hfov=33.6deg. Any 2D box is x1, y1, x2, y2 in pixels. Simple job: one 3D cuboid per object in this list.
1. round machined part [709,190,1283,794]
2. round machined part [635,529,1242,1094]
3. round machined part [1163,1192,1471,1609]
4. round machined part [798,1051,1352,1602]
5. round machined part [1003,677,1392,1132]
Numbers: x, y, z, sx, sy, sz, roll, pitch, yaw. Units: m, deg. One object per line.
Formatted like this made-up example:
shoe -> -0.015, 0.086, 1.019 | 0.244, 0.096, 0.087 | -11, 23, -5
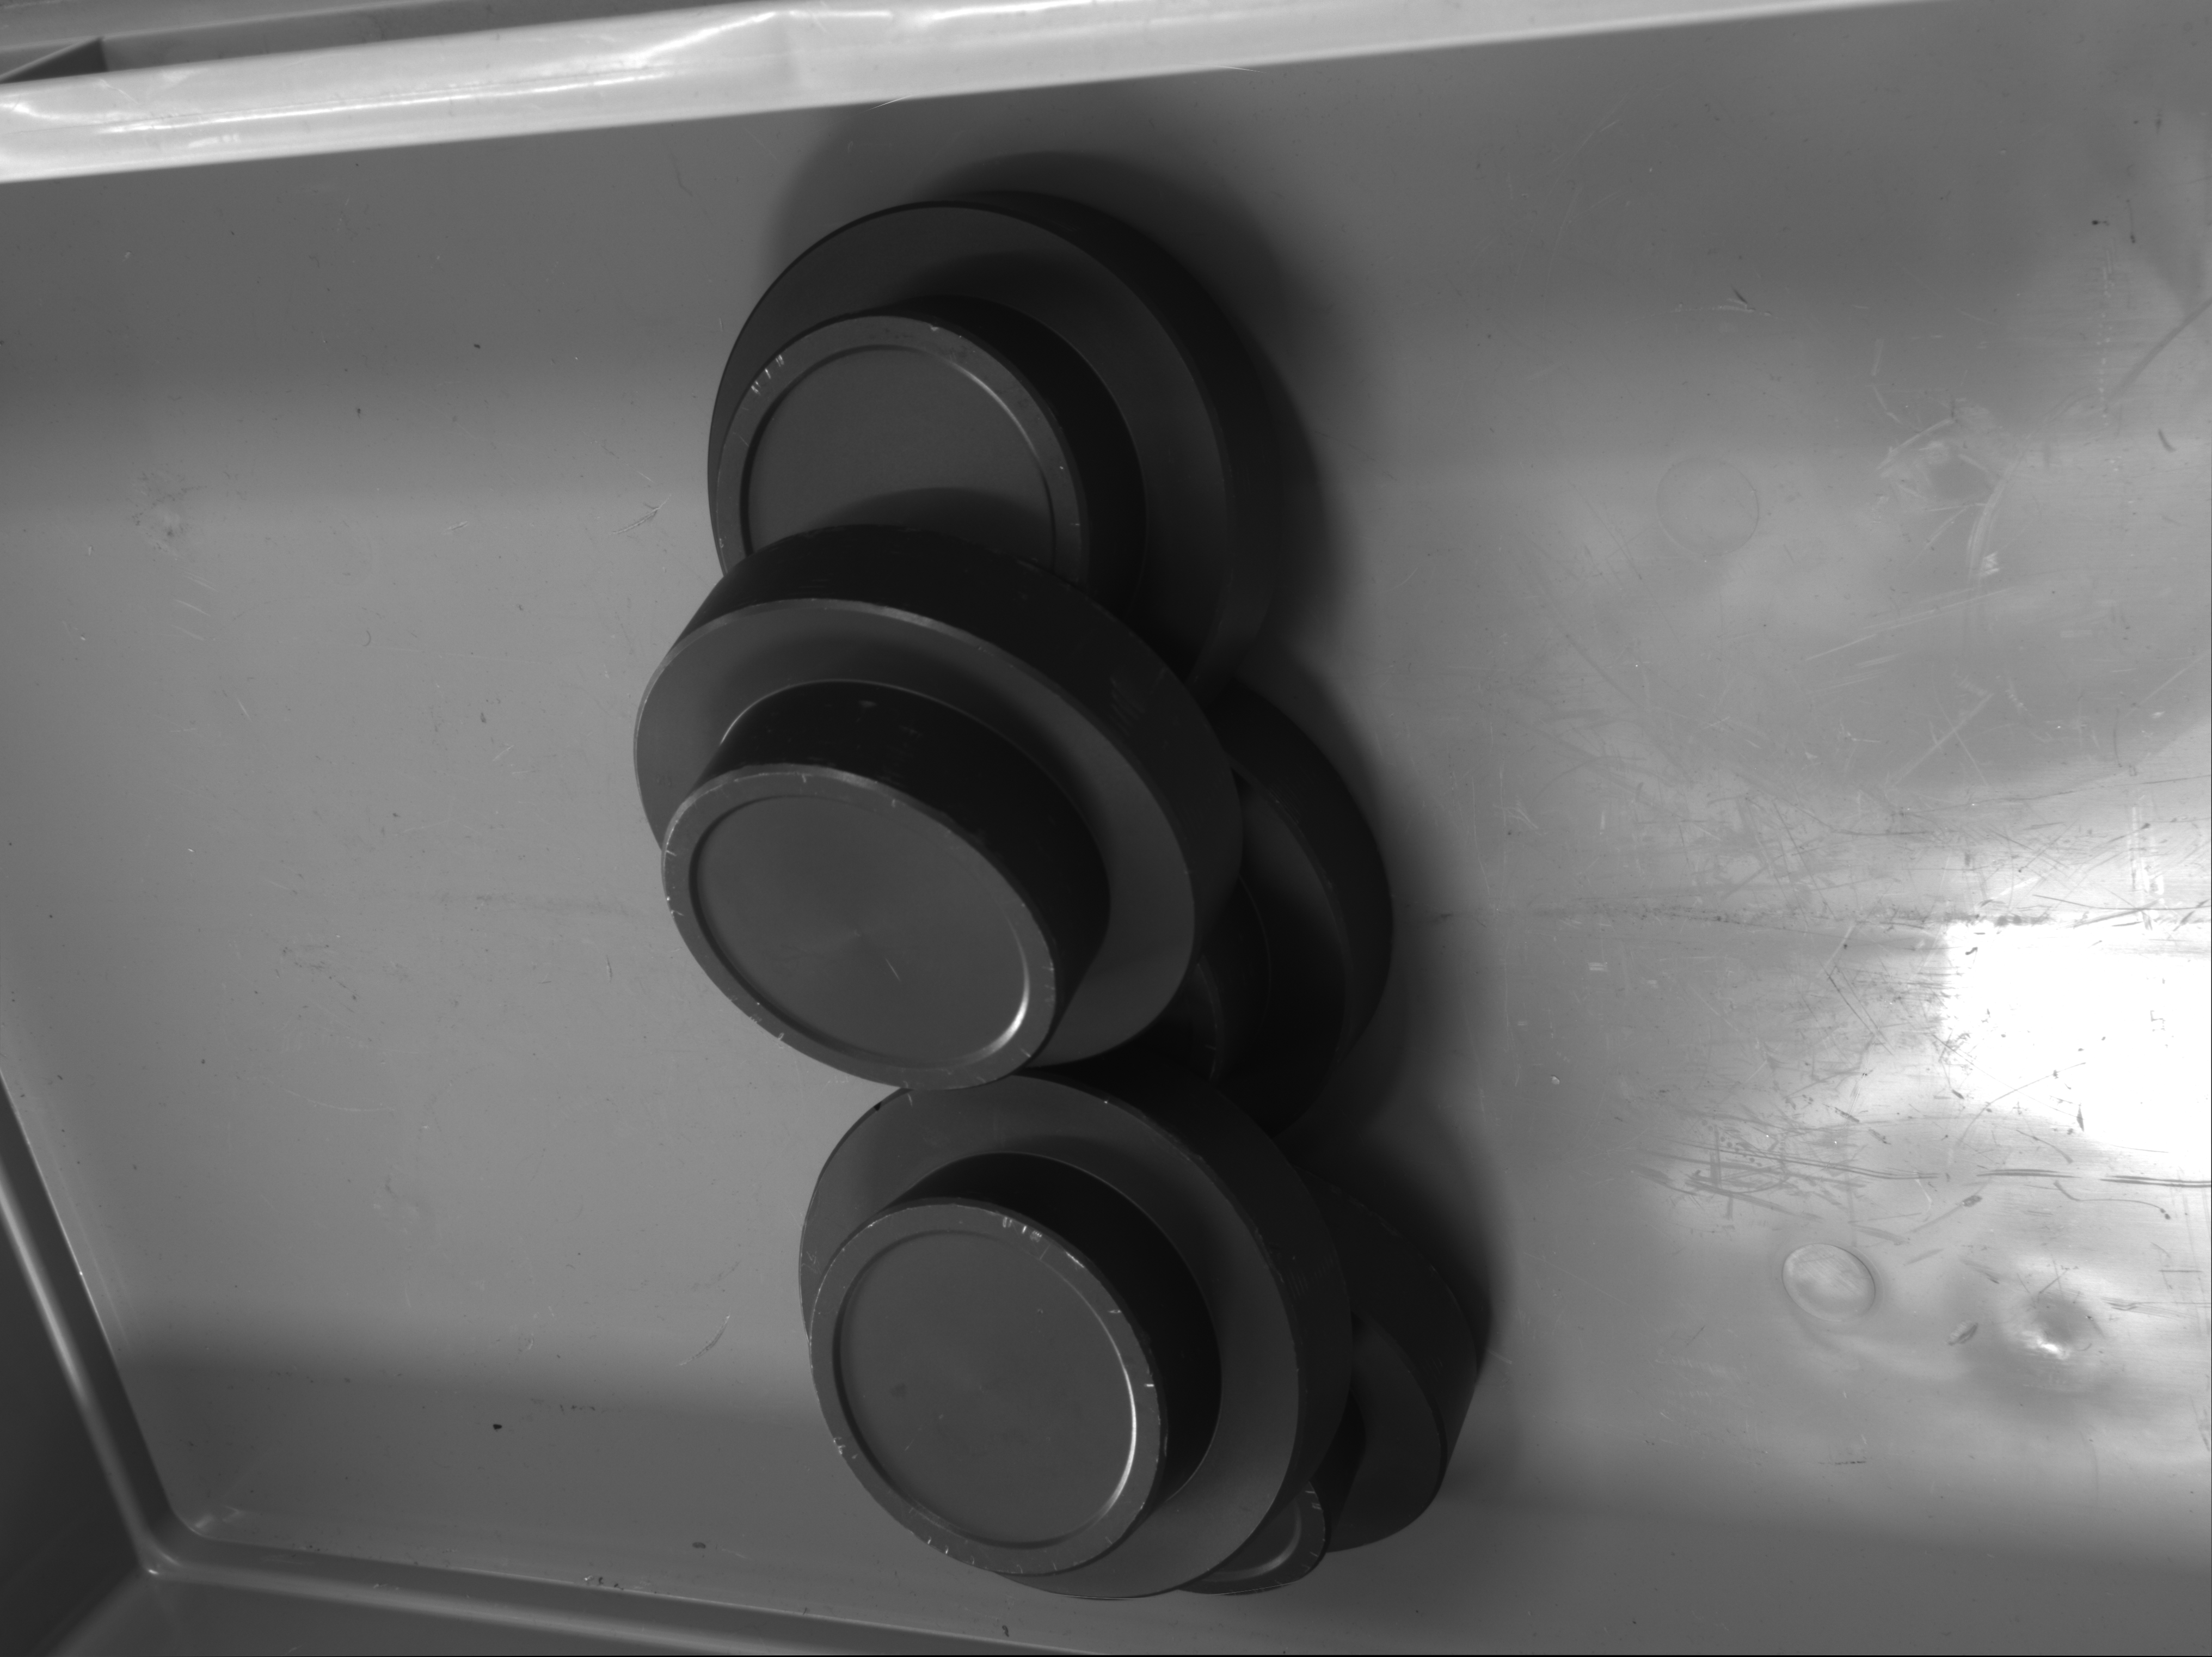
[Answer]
round machined part -> -0.024, -0.053, 0.596 | 0.098, 0.042, 0.098 | 7, 105, 27
round machined part -> -0.031, 0.004, 0.583 | 0.098, 0.042, 0.098 | 15, 136, 15
round machined part -> 0.014, 0.105, 0.669 | 0.098, 0.042, 0.098 | 15, 139, 14
round machined part -> -0.011, 0.088, 0.624 | 0.098, 0.042, 0.098 | 9, 111, 25
round machined part -> -0.003, 0.018, 0.643 | 0.098, 0.042, 0.098 | 13, 123, 21
